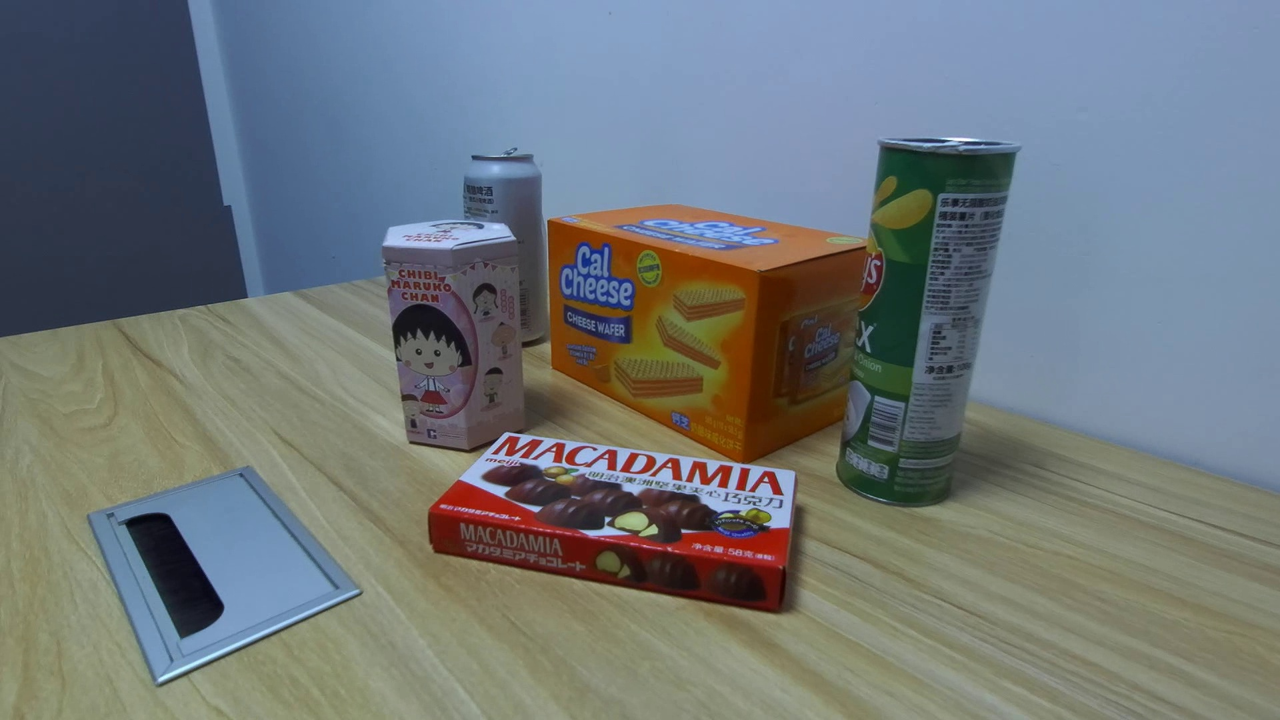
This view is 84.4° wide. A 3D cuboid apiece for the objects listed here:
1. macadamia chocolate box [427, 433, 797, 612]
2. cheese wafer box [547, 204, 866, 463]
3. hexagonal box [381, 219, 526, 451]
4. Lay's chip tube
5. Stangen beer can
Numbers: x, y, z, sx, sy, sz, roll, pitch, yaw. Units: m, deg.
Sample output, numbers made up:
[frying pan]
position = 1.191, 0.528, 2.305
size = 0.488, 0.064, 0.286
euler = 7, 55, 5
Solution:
[macadamia chocolate box]
position = -0.009, 0.080, 0.377
size = 0.177, 0.027, 0.096
euler = 6, 21, 13
[cheese wafer box]
position = 0.050, -0.037, 0.546
size = 0.149, 0.129, 0.220
euler = -16, 27, -39
[hexagonal box]
position = -0.122, -0.018, 0.474
size = 0.091, 0.136, 0.084
euler = 6, 21, 13
[Lay's chip tube]
position = 0.158, -0.022, 0.402
size = 0.071, 0.202, 0.071
euler = 1, 20, 0
[Stangen beer can]
position = -0.122, -0.102, 0.646
size = 0.070, 0.173, 0.070
euler = 13, 19, 30
